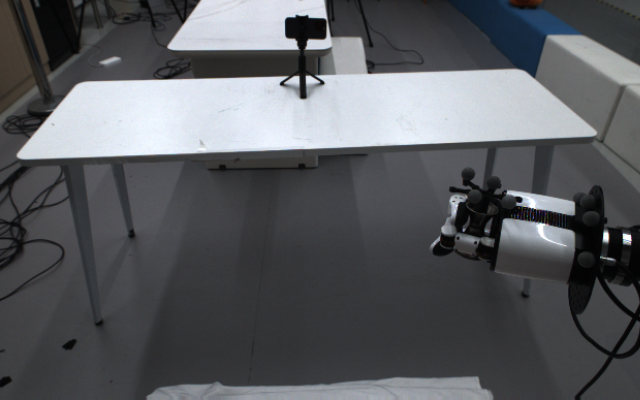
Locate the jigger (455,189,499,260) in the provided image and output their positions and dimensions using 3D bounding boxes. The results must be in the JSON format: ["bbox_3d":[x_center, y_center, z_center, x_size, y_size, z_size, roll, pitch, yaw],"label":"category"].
[{"bbox_3d":[0.204,0.038,0.632,0.043,0.071,0.043,6,26,-3],"label":"jigger"}]
